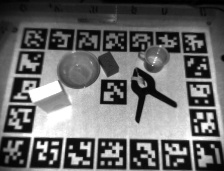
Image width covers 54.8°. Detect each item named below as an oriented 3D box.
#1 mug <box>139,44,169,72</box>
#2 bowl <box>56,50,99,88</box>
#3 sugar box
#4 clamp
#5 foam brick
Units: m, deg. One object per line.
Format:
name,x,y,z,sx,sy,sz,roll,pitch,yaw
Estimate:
mug,0.158,-0.107,0.836,0.117,0.081,0.093,25,73,4
bowl,-0.128,-0.051,0.828,0.162,0.055,0.161,1,72,-2
sugar box,-0.202,0.057,0.728,0.093,0.177,0.045,-24,75,-9
clamp,0.126,0.021,0.814,0.166,0.037,0.201,-23,75,-6
foam brick,-0.011,-0.075,0.846,0.053,0.051,0.077,-27,75,-8
